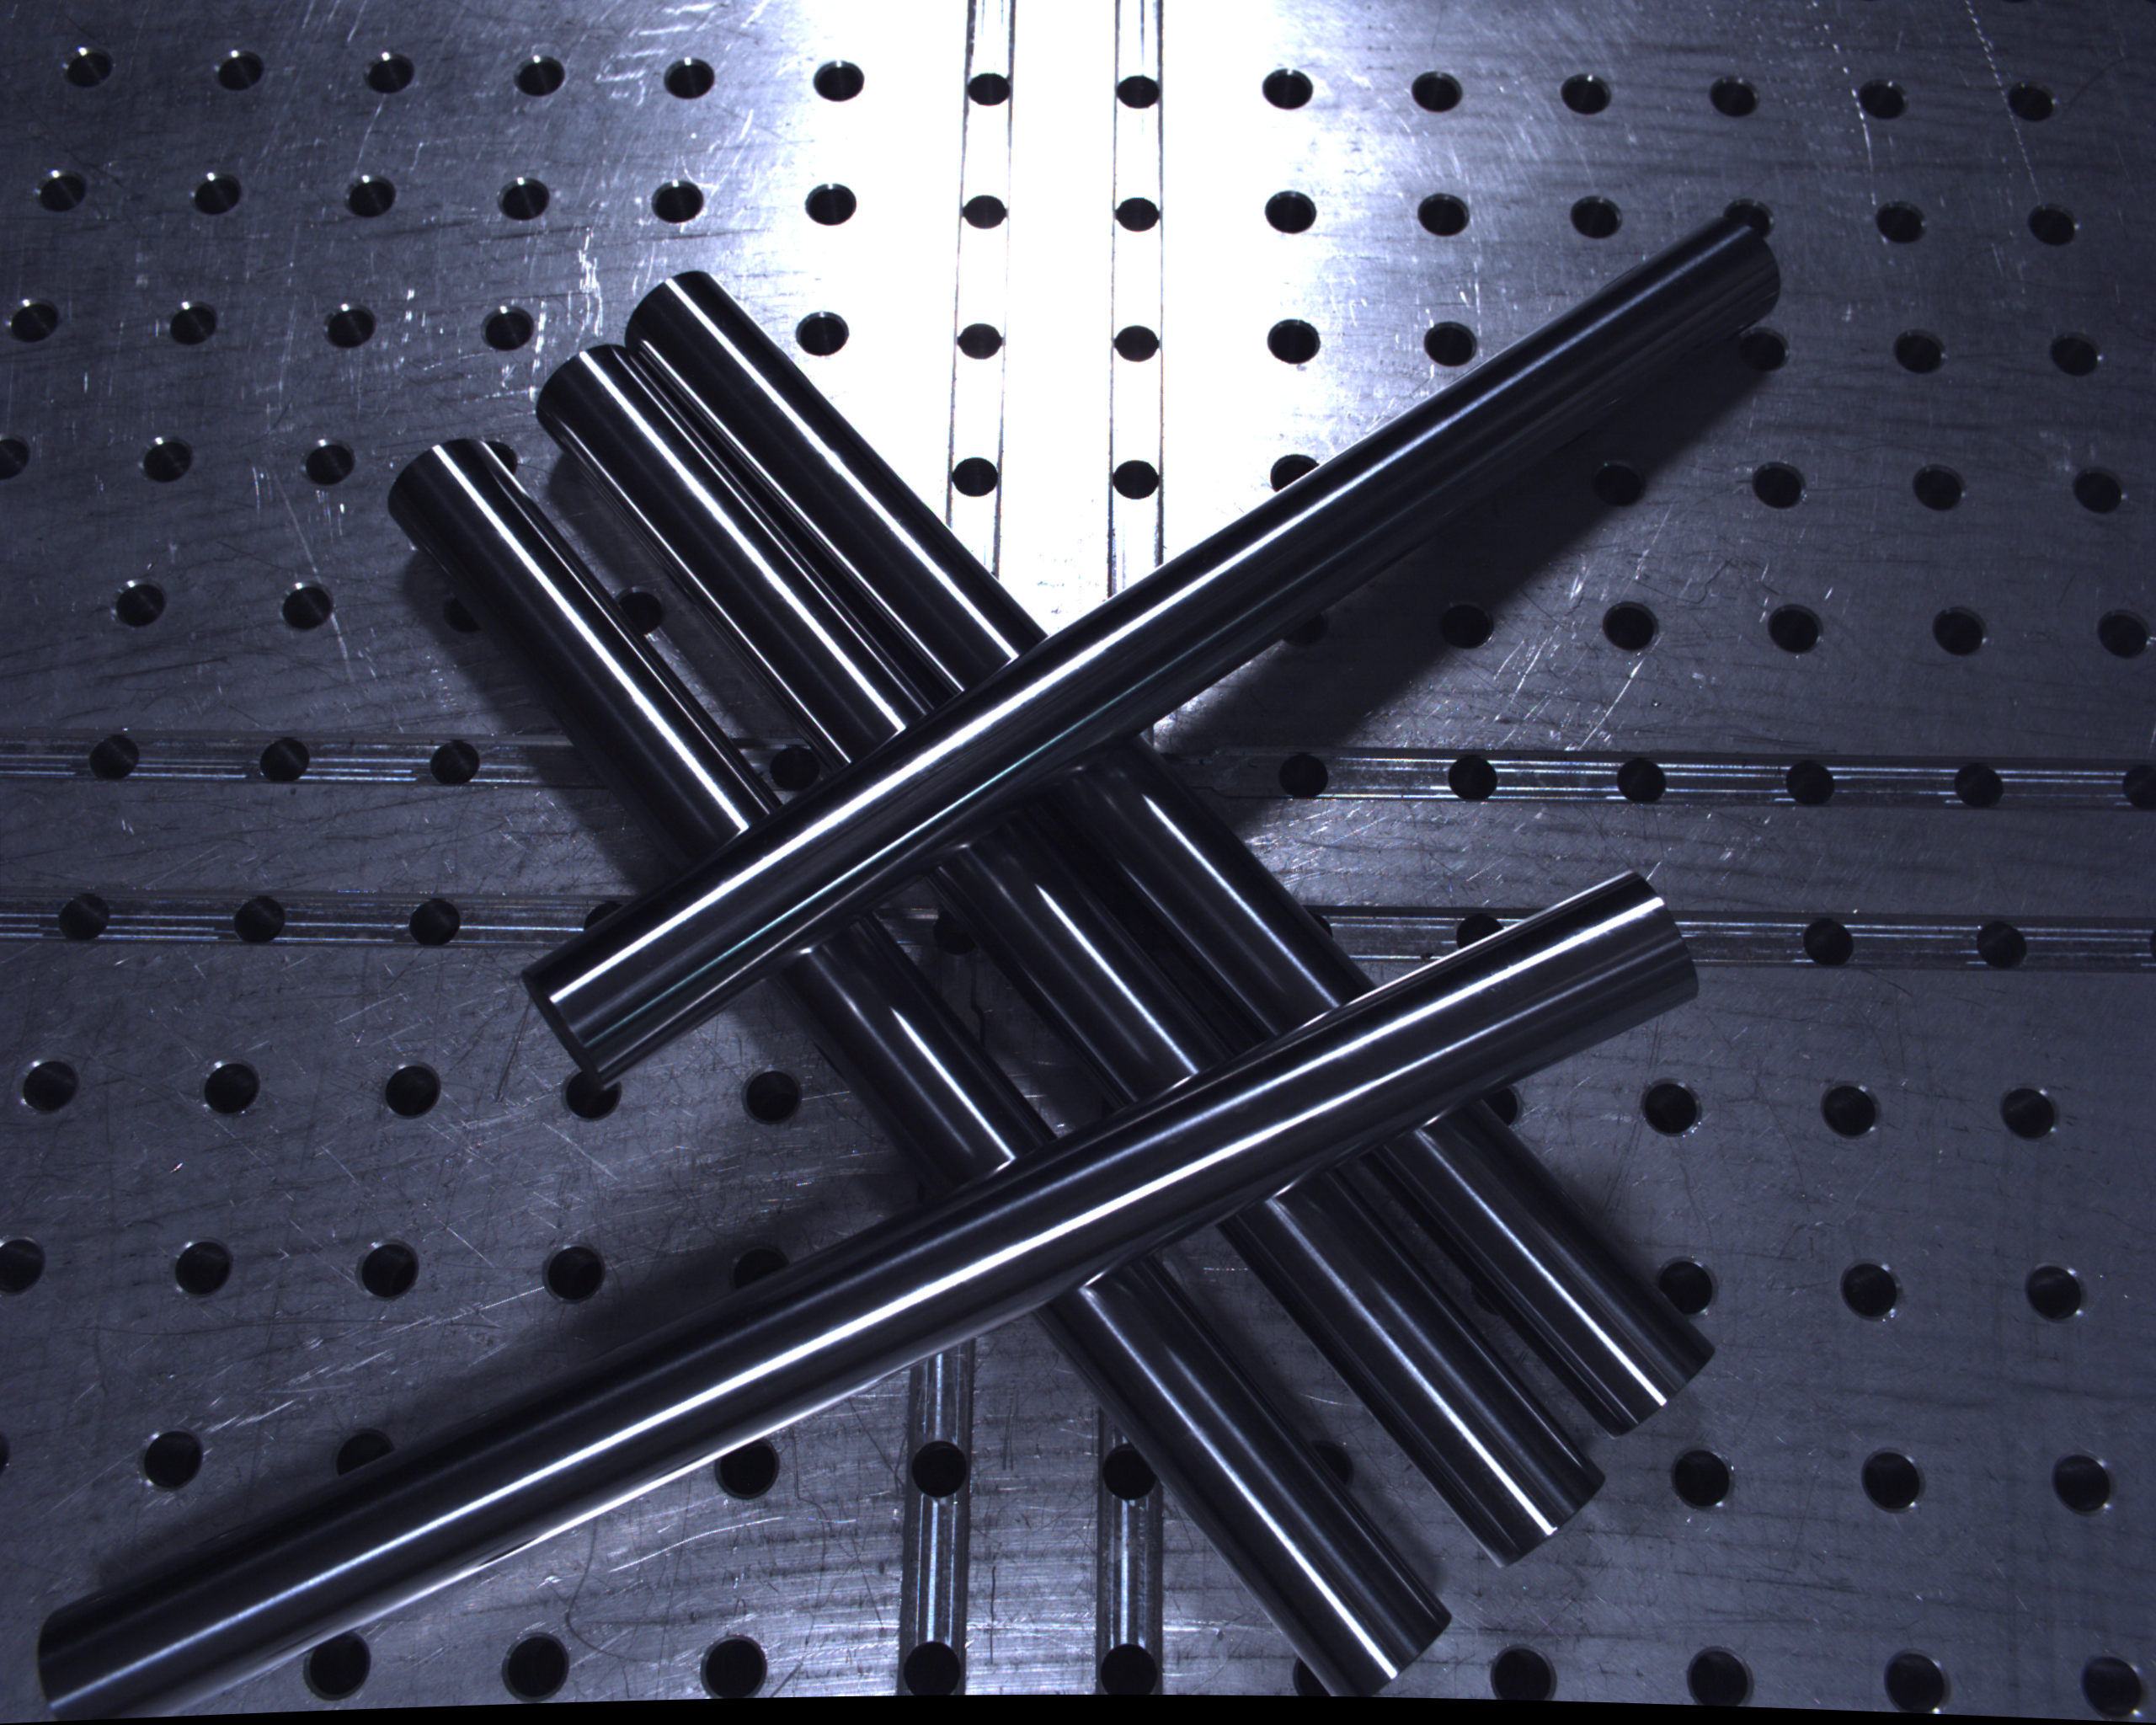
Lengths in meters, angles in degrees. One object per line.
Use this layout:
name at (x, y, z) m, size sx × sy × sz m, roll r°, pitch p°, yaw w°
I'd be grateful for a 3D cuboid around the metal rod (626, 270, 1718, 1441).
metal rod at (0.009, -0.011, 0.416) m, size 0.025 × 0.025 × 0.300 m, roll -39°, pitch 75°, yaw -13°

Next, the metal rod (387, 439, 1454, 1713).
metal rod at (-0.039, 0.030, 0.400) m, size 0.025 × 0.025 × 0.300 m, roll -37°, pitch 75°, yaw -13°

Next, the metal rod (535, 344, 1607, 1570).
metal rod at (-0.011, 0.008, 0.408) m, size 0.025 × 0.025 × 0.300 m, roll -37°, pitch 75°, yaw -13°

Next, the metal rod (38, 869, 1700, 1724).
metal rod at (-0.035, 0.076, 0.361) m, size 0.301 × 0.025 × 0.025 m, roll -25°, pitch 72°, yaw -1°

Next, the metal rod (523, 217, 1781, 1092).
metal rod at (0.029, -0.051, 0.409) m, size 0.302 × 0.025 × 0.025 m, roll -34°, pitch 74°, yaw -20°
